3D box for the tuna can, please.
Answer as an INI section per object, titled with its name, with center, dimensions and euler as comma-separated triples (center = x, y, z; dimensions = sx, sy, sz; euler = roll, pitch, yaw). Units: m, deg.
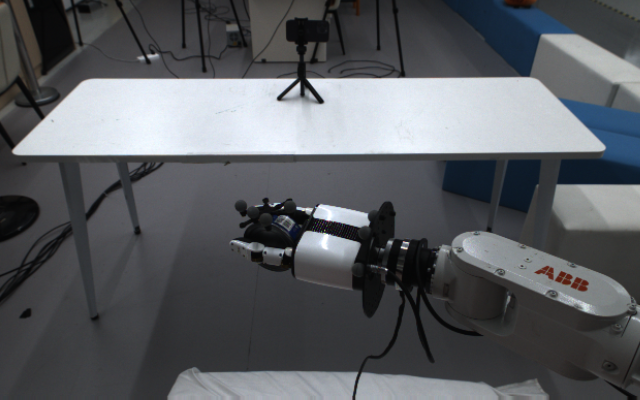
[tuna can]
center = -0.063, 0.061, 0.700
dimensions = 0.085, 0.085, 0.034
euler = 14, 34, 17
